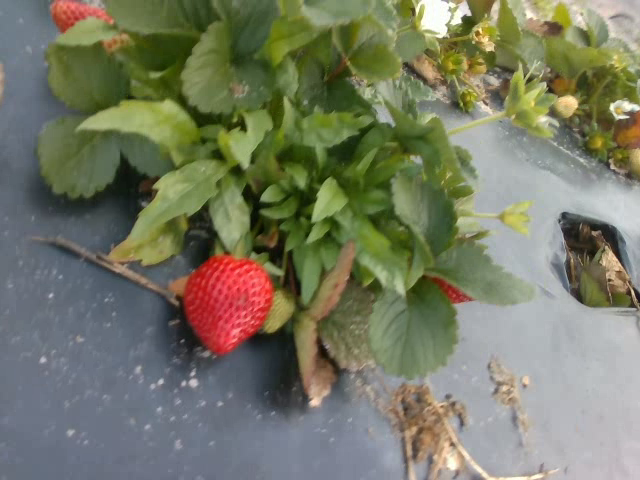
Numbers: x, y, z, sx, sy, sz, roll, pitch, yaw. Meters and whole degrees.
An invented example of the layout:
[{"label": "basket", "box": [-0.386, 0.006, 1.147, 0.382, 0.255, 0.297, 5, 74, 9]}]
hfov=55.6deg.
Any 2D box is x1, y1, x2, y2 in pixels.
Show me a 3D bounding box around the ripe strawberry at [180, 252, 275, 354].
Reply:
[{"label": "ripe strawberry", "box": [-0.042, 0.030, 0.261, 0.043, 0.051, 0.042, 25, -44, -26]}]
